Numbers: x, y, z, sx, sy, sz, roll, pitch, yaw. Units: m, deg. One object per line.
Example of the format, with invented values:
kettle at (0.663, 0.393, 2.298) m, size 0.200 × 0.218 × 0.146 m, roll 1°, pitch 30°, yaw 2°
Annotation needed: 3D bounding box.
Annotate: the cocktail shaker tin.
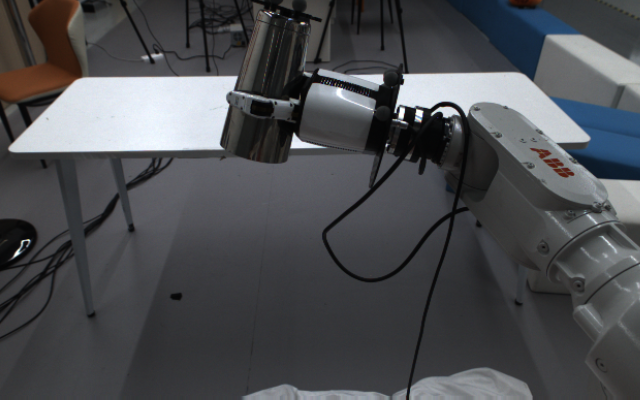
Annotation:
cocktail shaker tin at (-0.064, -0.143, 0.608) m, size 0.093 × 0.170 × 0.093 m, roll 15°, pitch 20°, yaw -5°
